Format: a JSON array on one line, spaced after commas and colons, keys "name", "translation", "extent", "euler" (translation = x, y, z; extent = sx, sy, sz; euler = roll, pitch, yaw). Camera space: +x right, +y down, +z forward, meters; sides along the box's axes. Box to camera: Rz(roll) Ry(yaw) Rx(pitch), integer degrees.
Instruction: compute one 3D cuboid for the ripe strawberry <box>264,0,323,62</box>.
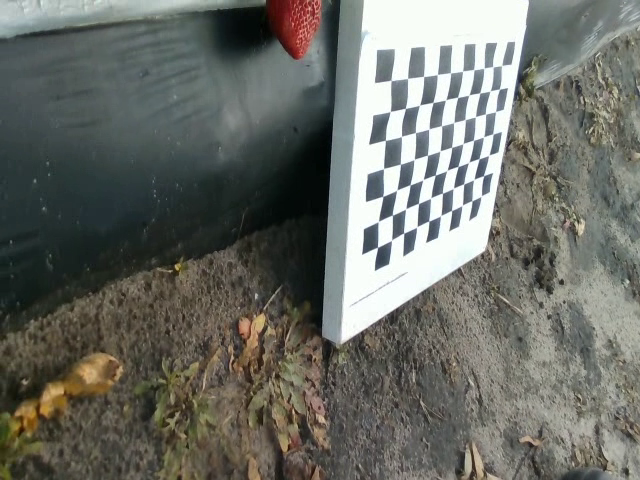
[{"name": "ripe strawberry", "translation": [-0.011, -0.118, 0.341], "extent": [0.030, 0.053, 0.047], "euler": [-8, -25, 25]}]
